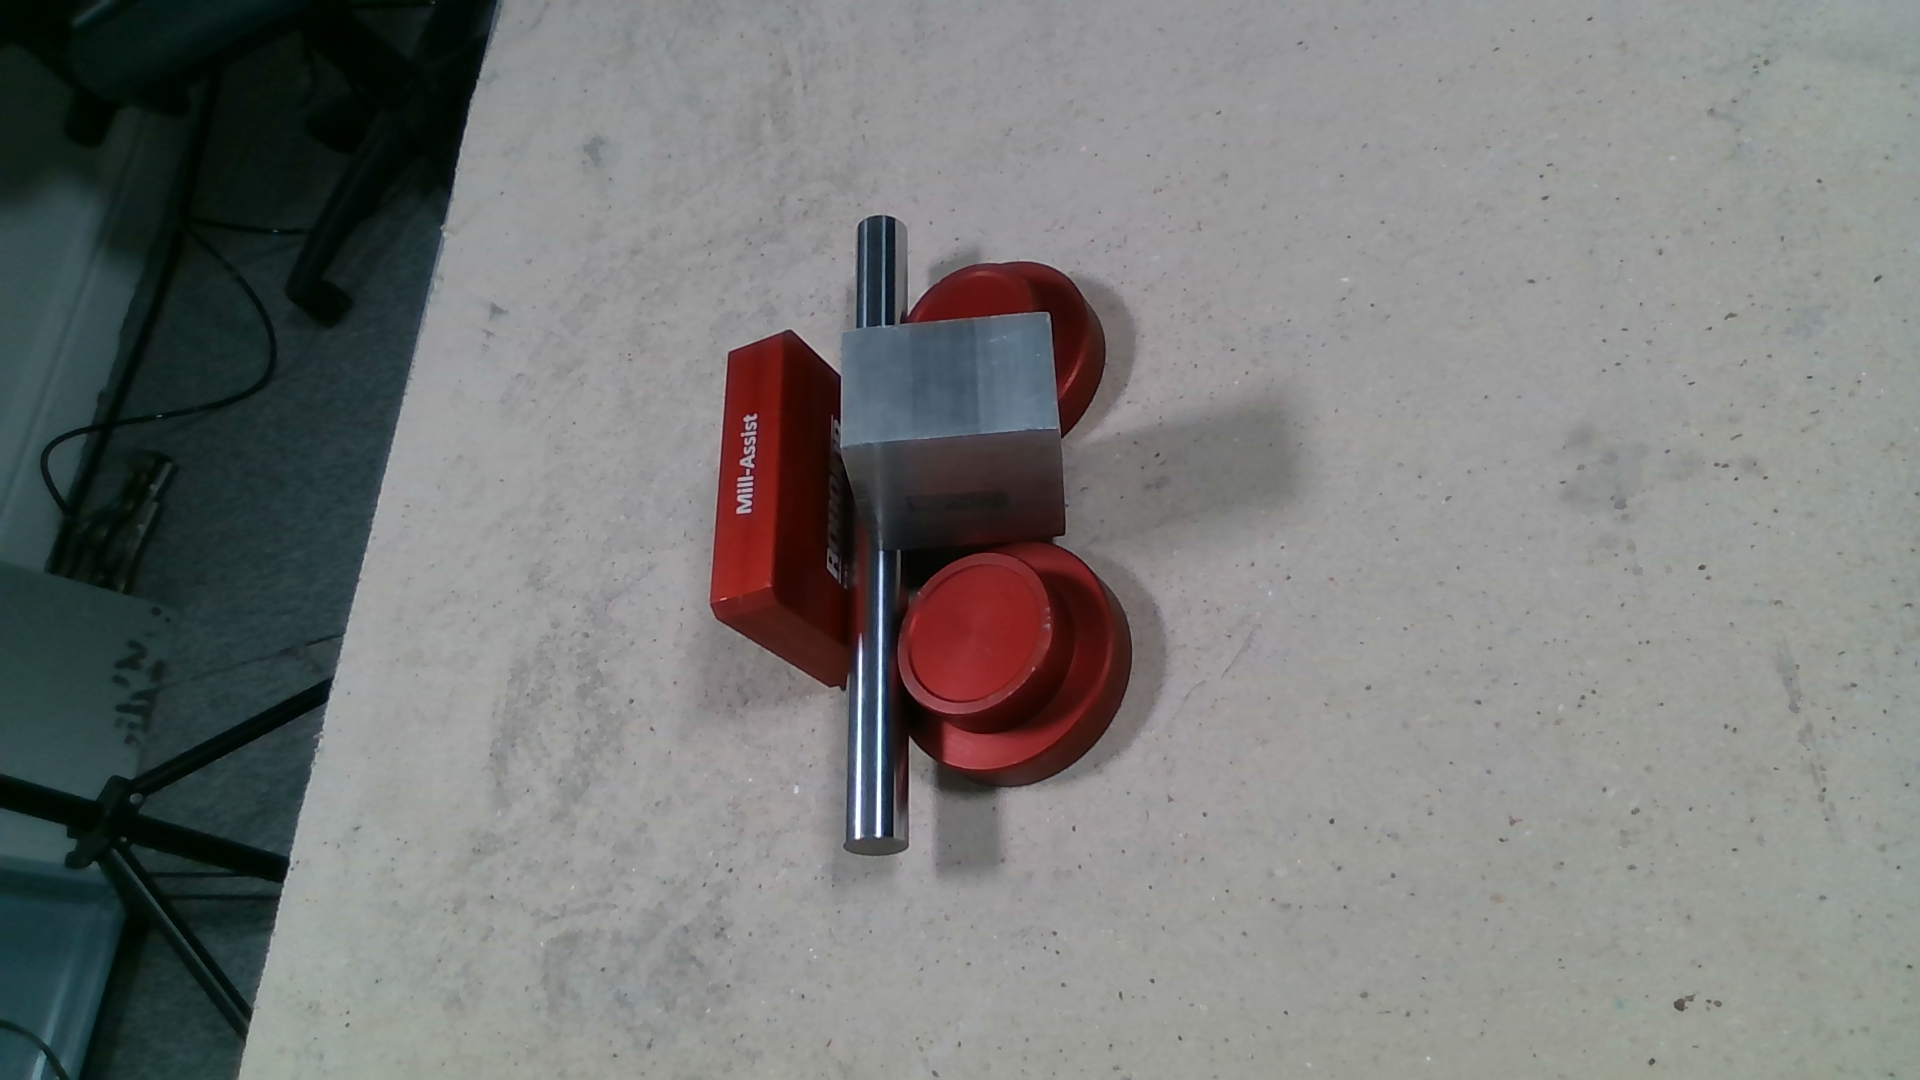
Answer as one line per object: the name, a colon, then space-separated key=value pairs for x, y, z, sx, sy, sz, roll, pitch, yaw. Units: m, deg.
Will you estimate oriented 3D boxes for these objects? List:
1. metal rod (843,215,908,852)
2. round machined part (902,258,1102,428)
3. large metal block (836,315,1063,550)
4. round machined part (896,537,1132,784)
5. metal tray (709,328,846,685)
metal rod: x=-0.035 y=-0.016 z=0.589 sx=0.025 sy=0.025 sz=0.299 roll=-16 pitch=58 yaw=24
round machined part: x=0.010 y=-0.084 z=0.611 sx=0.098 sy=0.042 sz=0.098 roll=-14 pitch=59 yaw=25
large metal block: x=-0.002 y=-0.040 z=0.538 sx=0.080 sy=0.080 sz=0.050 roll=-4 pitch=61 yaw=3
round machined part: x=0.014 y=0.043 z=0.542 sx=0.098 sy=0.042 sz=0.098 roll=-14 pitch=59 yaw=25
metal tray: x=-0.065 y=-0.013 z=0.590 sx=0.030 sy=0.090 sz=0.130 roll=-15 pitch=58 yaw=24
